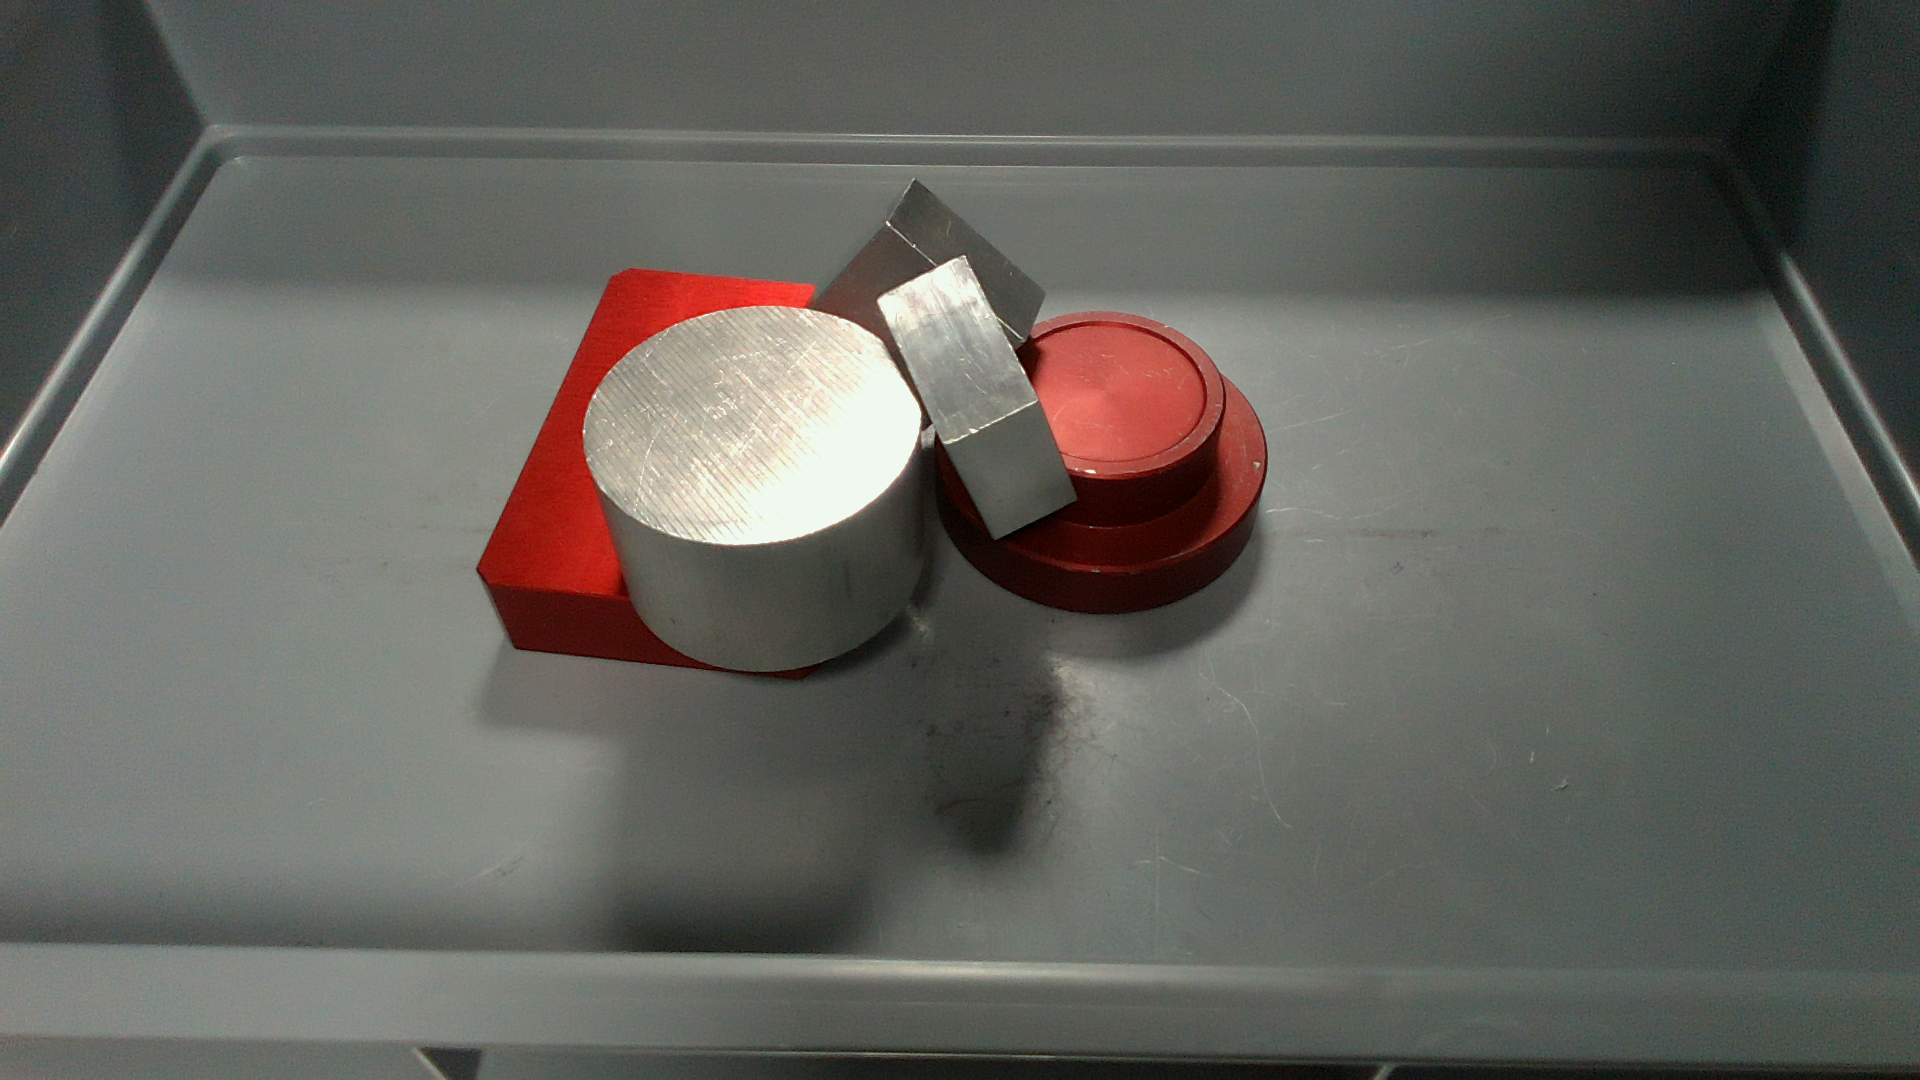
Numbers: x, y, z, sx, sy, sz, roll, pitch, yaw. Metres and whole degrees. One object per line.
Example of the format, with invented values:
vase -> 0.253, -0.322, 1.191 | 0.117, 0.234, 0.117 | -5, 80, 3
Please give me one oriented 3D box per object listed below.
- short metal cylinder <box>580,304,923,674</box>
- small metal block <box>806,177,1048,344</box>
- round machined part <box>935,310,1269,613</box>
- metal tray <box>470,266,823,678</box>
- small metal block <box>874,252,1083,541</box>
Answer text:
short metal cylinder -> -0.049, -0.014, 0.346 | 0.080, 0.050, 0.080 | 0, 50, 0
small metal block -> -0.012, -0.066, 0.396 | 0.050, 0.050, 0.025 | 38, 44, -16
round machined part -> 0.041, -0.030, 0.404 | 0.098, 0.042, 0.098 | 0, 50, 0
metal tray -> -0.075, -0.025, 0.405 | 0.090, 0.030, 0.130 | 6, 50, 5
small metal block -> 0.005, -0.036, 0.353 | 0.025, 0.050, 0.050 | -26, 59, 3
